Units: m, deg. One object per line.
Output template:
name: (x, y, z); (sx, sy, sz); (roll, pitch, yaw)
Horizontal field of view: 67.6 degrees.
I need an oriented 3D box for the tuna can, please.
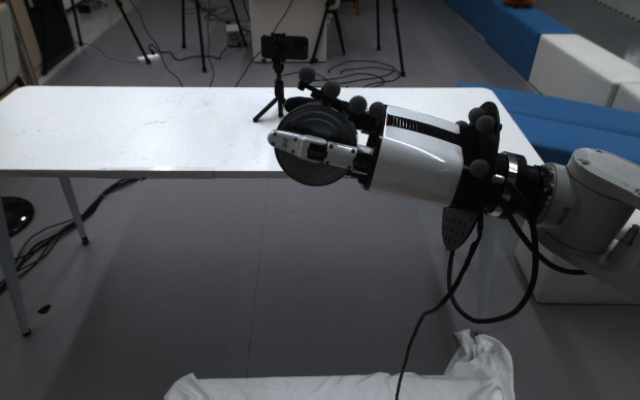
tuna can: (0.000, -0.061, 0.510); (0.085, 0.085, 0.034); (7, 17, 6)
